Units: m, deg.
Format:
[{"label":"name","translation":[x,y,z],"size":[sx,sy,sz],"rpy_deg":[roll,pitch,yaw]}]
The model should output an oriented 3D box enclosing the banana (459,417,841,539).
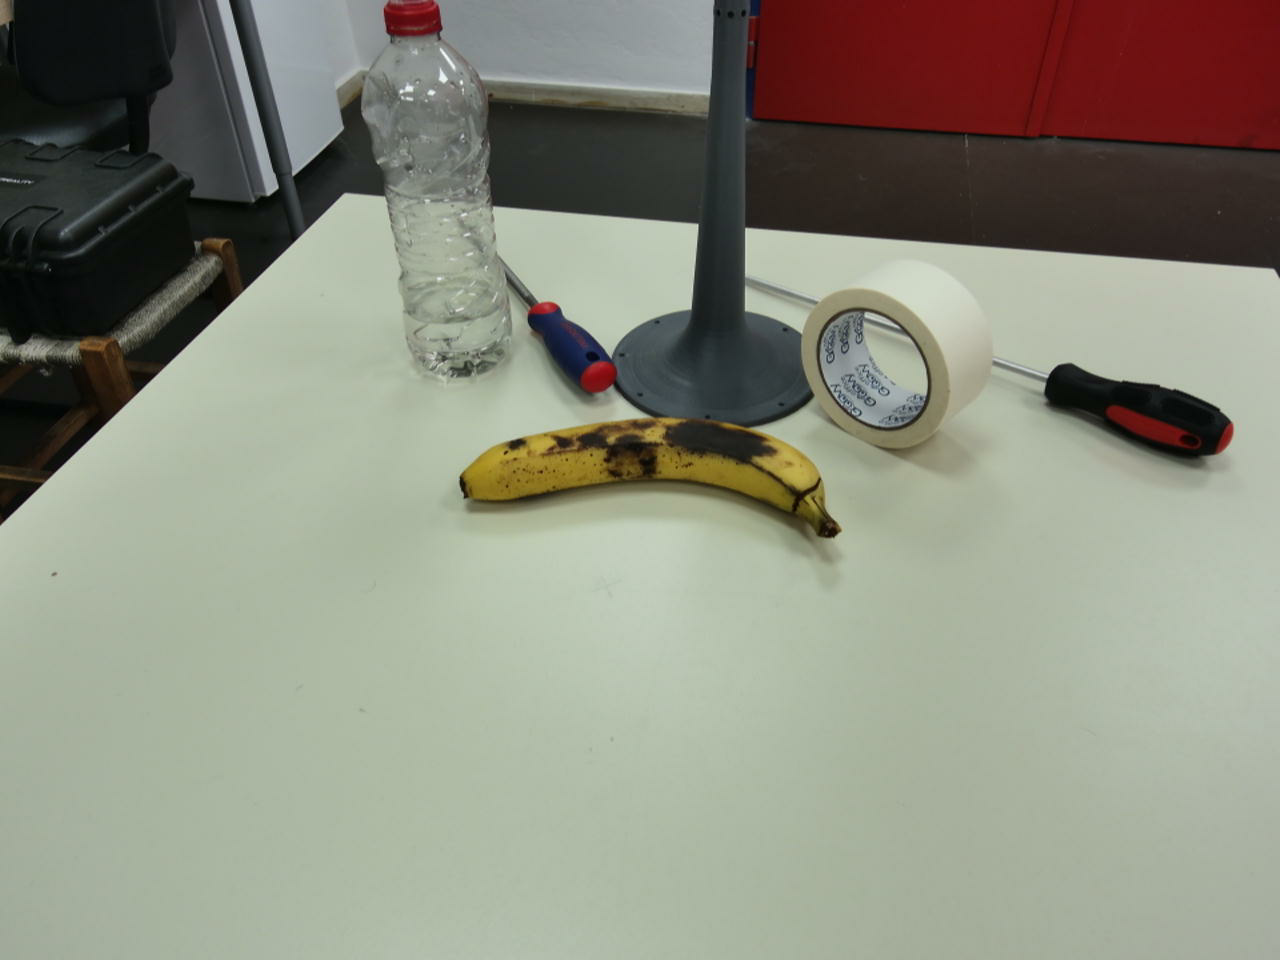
[{"label":"banana","translation":[0.009,-0.008,0.595],"size":[0.222,0.037,0.084],"rpy_deg":[8,40,10]}]
